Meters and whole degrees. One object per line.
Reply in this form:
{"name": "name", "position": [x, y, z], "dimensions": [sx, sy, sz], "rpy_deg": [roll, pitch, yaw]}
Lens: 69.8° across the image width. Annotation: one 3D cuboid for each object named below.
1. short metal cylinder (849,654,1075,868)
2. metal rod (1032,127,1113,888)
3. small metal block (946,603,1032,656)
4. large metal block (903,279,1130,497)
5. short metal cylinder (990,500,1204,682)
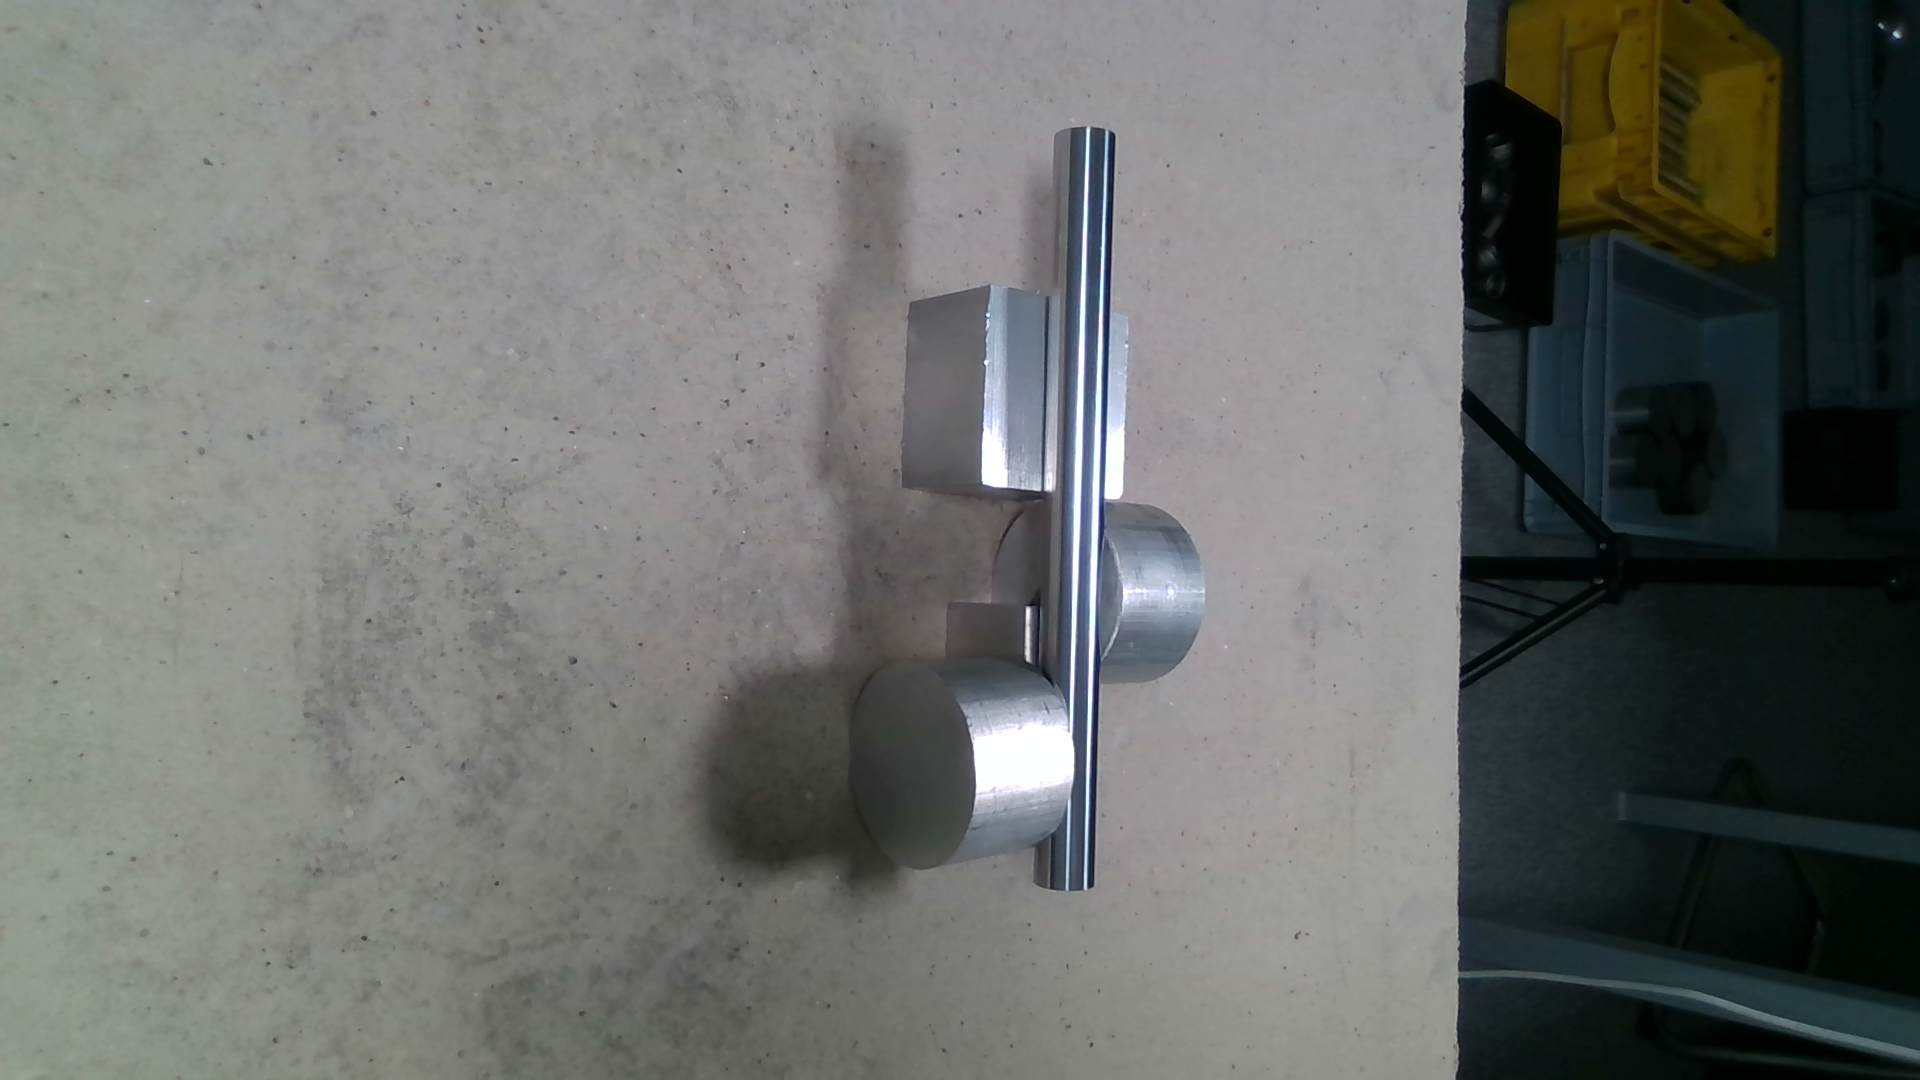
{"name": "short metal cylinder", "position": [0.000, 0.086, 0.547], "dimensions": [0.050, 0.080, 0.080], "rpy_deg": [0, 90, -40]}
{"name": "metal rod", "position": [0.045, -0.013, 0.555], "dimensions": [0.025, 0.025, 0.300], "rpy_deg": [1, 90, -40]}
{"name": "small metal block", "position": [0.020, 0.052, 0.582], "dimensions": [0.025, 0.050, 0.050], "rpy_deg": [1, 89, -40]}
{"name": "large metal block", "position": [0.025, -0.060, 0.584], "dimensions": [0.080, 0.050, 0.080], "rpy_deg": [4, 87, -40]}
{"name": "short metal cylinder", "position": [0.058, 0.022, 0.598], "dimensions": [0.050, 0.080, 0.080], "rpy_deg": [3, 88, -40]}
